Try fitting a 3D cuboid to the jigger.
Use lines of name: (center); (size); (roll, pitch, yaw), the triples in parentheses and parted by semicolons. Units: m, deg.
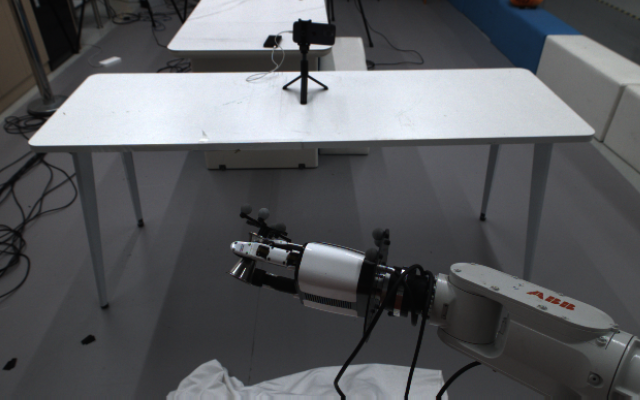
jigger: (-0.104, 0.083, 0.707); (0.043, 0.043, 0.071); (20, 74, 24)
